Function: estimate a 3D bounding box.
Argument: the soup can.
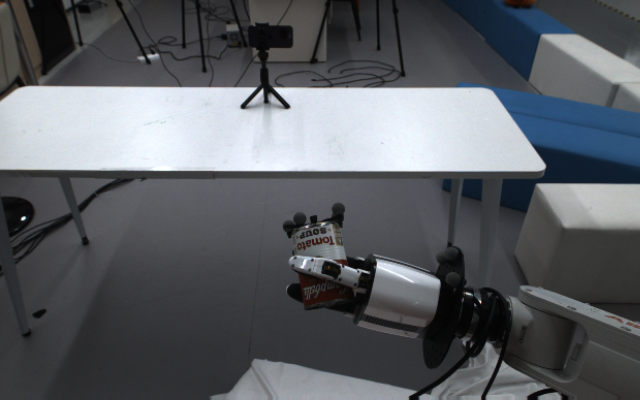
[{"bbox_3d":[0.005,0.086,0.631,0.067,0.067,0.101,-8,74,-14],"label":"soup can"}]
